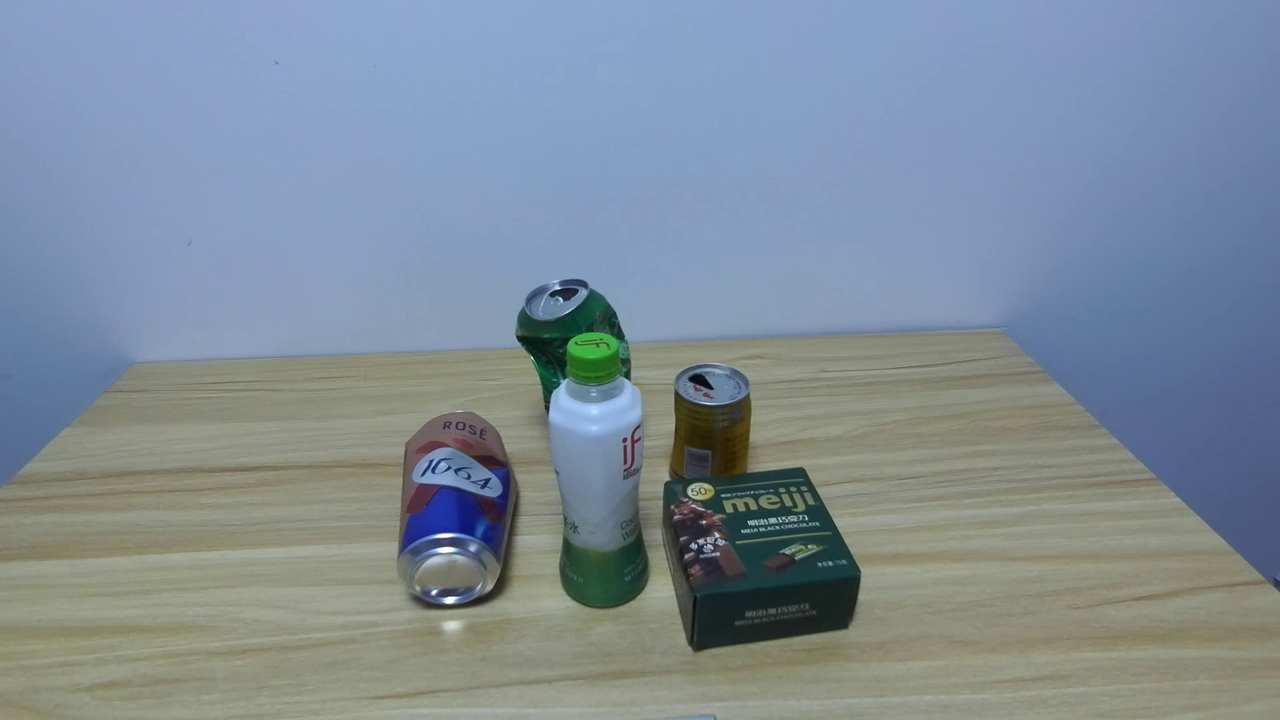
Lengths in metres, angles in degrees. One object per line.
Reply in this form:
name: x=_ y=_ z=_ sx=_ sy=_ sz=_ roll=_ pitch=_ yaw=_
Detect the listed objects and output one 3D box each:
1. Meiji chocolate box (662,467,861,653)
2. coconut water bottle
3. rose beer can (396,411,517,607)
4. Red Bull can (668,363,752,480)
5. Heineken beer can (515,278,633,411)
Meiji chocolate box: x=0.078 y=0.132 z=0.485 sx=0.110 sy=0.056 sz=0.109 roll=-4 pitch=30 yaw=-8
coconut water bottle: x=-0.026 y=0.072 z=0.453 sx=0.063 sy=0.189 sz=0.063 roll=-1 pitch=30 yaw=1
rose beer can: x=-0.137 y=0.102 z=0.531 sx=0.070 sy=0.069 sz=0.167 roll=-23 pitch=31 yaw=3
Red Bull can: x=0.055 y=0.057 z=0.568 sx=0.069 sy=0.092 sz=0.069 roll=0 pitch=30 yaw=0
Heineken beer can: x=-0.046 y=0.013 z=0.586 sx=0.079 sy=0.159 sz=0.067 roll=-23 pitch=33 yaw=-21
